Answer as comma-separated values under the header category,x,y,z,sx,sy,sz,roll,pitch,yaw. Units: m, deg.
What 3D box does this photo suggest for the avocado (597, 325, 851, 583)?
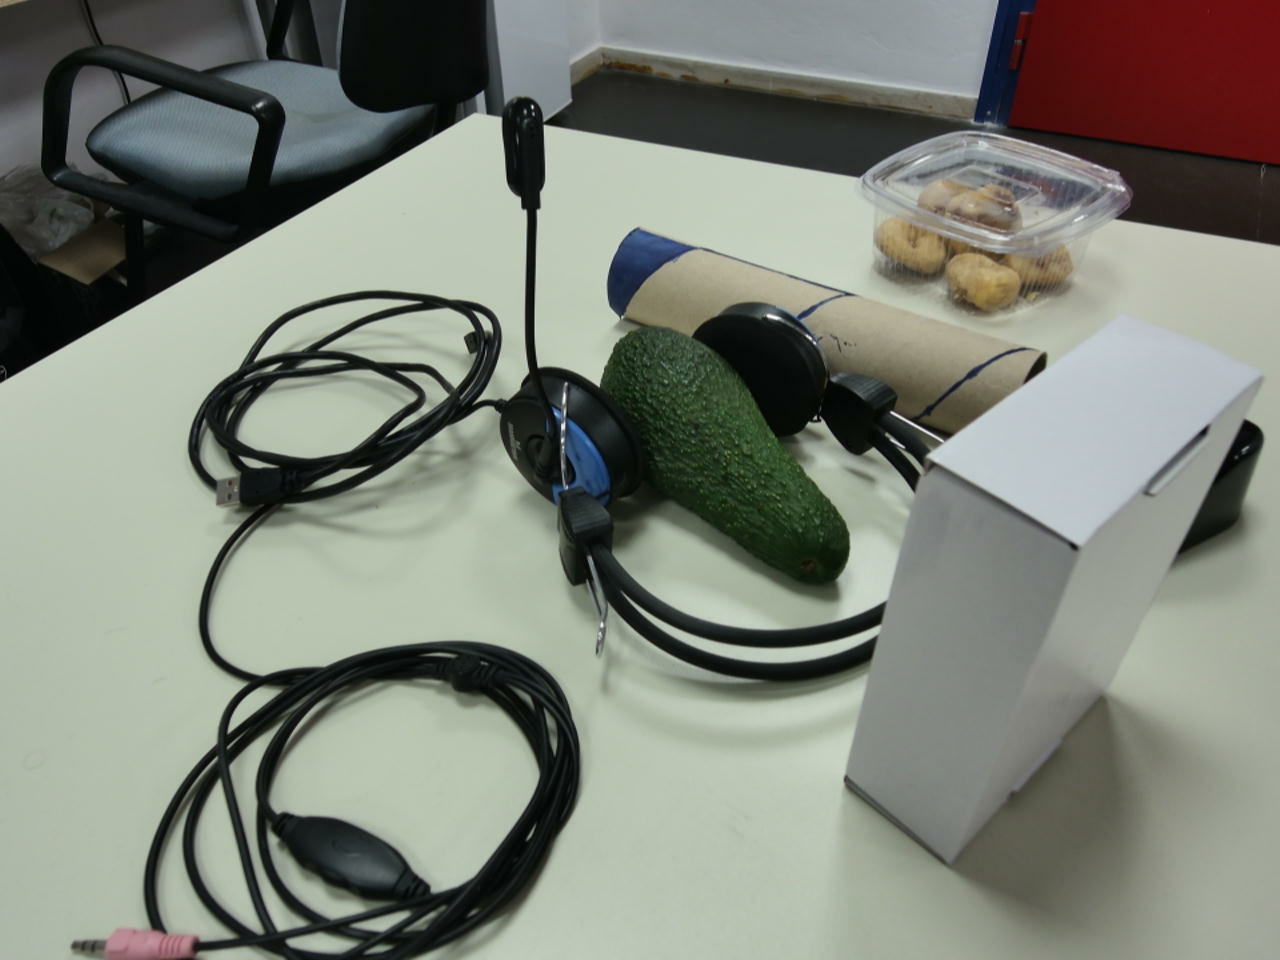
category,x,y,z,sx,sy,sz,roll,pitch,yaw
avocado,0.037,-0.018,0.418,0.141,0.067,0.063,28,46,33
